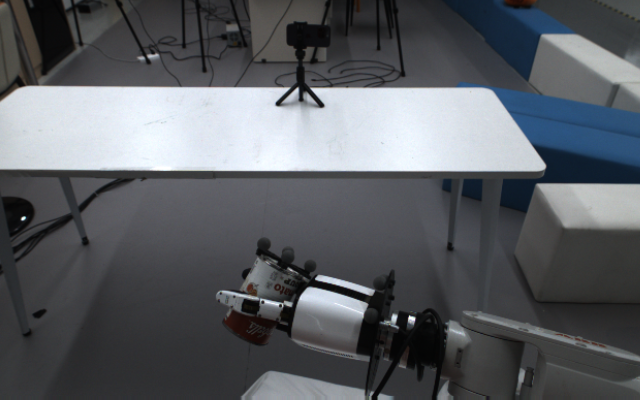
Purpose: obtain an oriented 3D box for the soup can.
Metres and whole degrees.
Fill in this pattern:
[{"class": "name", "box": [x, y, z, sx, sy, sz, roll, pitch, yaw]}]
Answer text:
[{"class": "soup can", "box": [-0.075, 0.131, 0.638, 0.067, 0.101, 0.067, 30, -2, 1]}]
